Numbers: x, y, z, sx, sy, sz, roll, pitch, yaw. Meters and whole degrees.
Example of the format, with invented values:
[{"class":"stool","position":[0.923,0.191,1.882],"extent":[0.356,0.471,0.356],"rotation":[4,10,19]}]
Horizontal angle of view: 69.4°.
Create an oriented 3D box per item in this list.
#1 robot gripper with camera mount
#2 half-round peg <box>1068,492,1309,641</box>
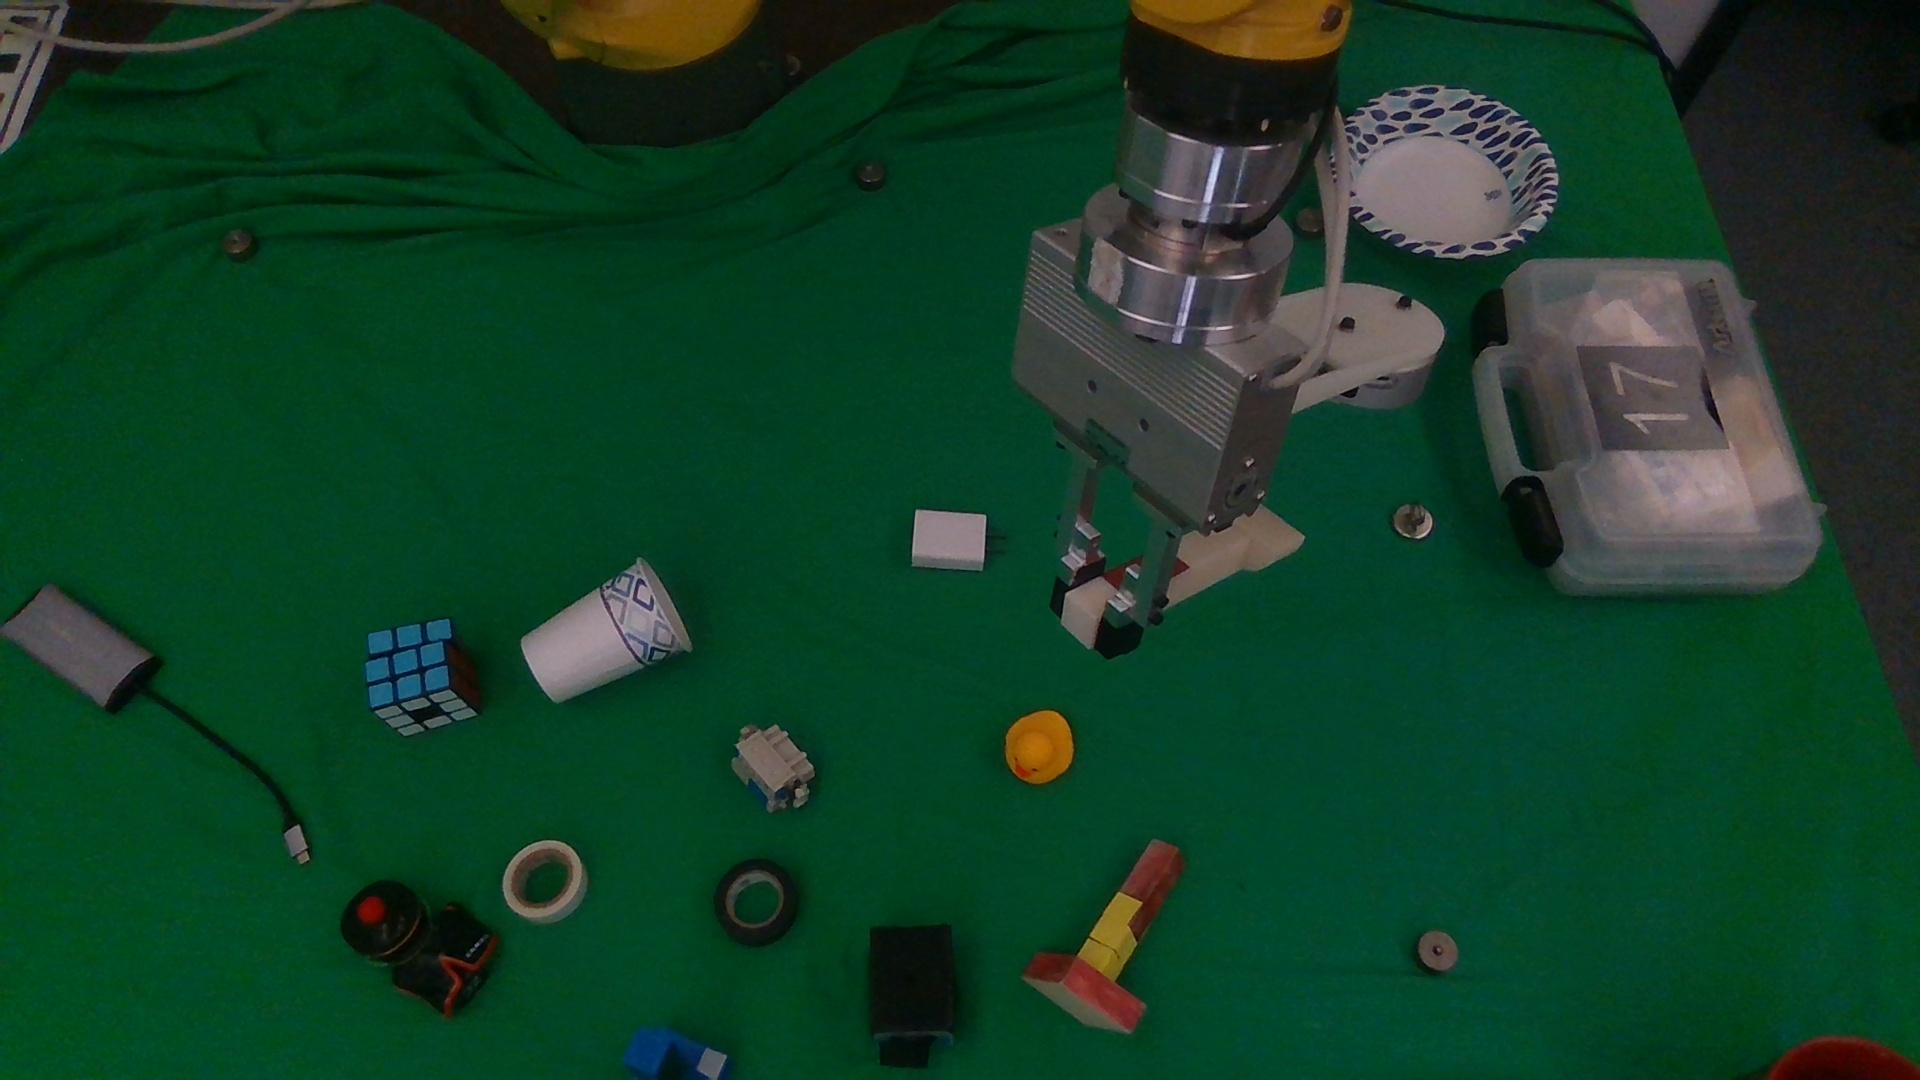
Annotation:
[{"class":"robot gripper with camera mount","position":[0.126,-0.049,0.616],"extent":[0.193,0.158,0.119],"rotation":[-23,48,-33]},{"class":"half-round peg","position":[0.100,0.011,0.639],"extent":[0.121,0.031,0.054],"rotation":[-24,48,-28]}]
